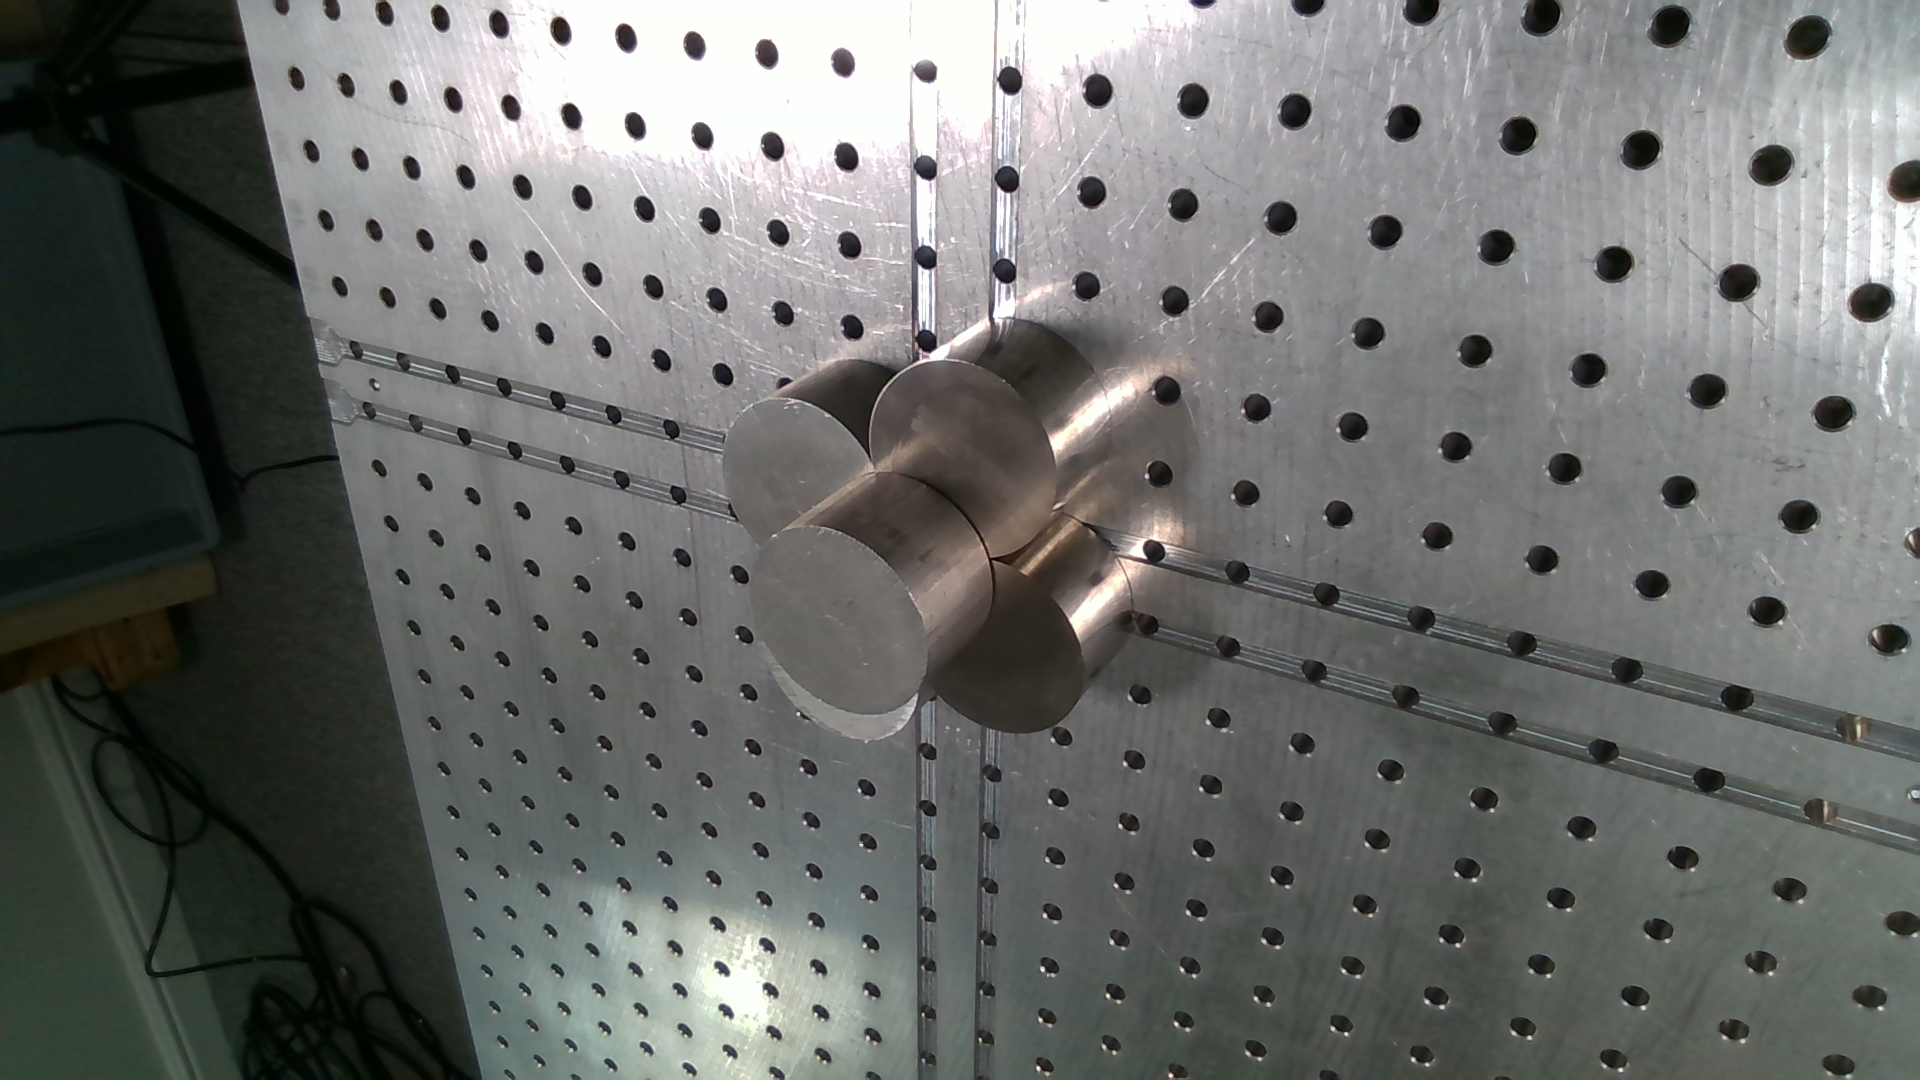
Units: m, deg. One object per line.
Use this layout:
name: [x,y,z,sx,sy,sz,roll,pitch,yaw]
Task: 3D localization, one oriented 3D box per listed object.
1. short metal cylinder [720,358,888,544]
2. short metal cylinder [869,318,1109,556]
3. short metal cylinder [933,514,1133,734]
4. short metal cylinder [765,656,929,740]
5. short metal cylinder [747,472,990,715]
short metal cylinder: [-0.054,-0.031,0.582,0.080,0.050,0.080,14,122,25]
short metal cylinder: [0.012,-0.041,0.536,0.080,0.050,0.080,14,122,25]
short metal cylinder: [0.025,0.033,0.569,0.080,0.050,0.080,14,122,25]
short metal cylinder: [-0.041,0.042,0.614,0.080,0.050,0.080,14,122,25]
short metal cylinder: [-0.035,0.020,0.532,0.080,0.050,0.080,16,123,26]
